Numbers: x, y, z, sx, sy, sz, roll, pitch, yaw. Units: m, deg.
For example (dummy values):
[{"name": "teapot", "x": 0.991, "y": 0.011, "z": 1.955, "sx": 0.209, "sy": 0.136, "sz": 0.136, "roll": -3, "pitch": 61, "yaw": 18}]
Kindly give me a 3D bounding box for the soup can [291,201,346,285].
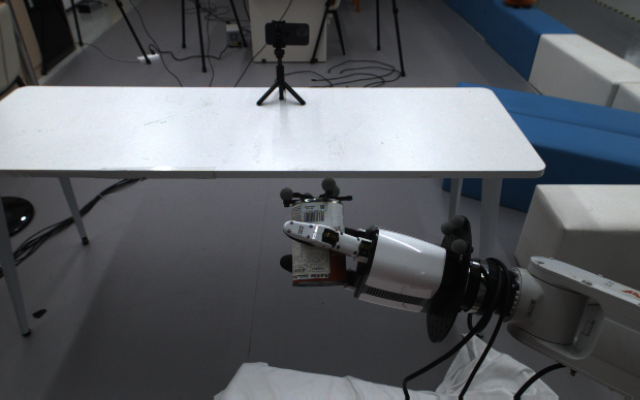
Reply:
[{"name": "soup can", "x": 0.001, "y": 0.054, "z": 0.597, "sx": 0.067, "sy": 0.067, "sz": 0.101, "roll": -2, "pitch": 76, "yaw": -5}]
